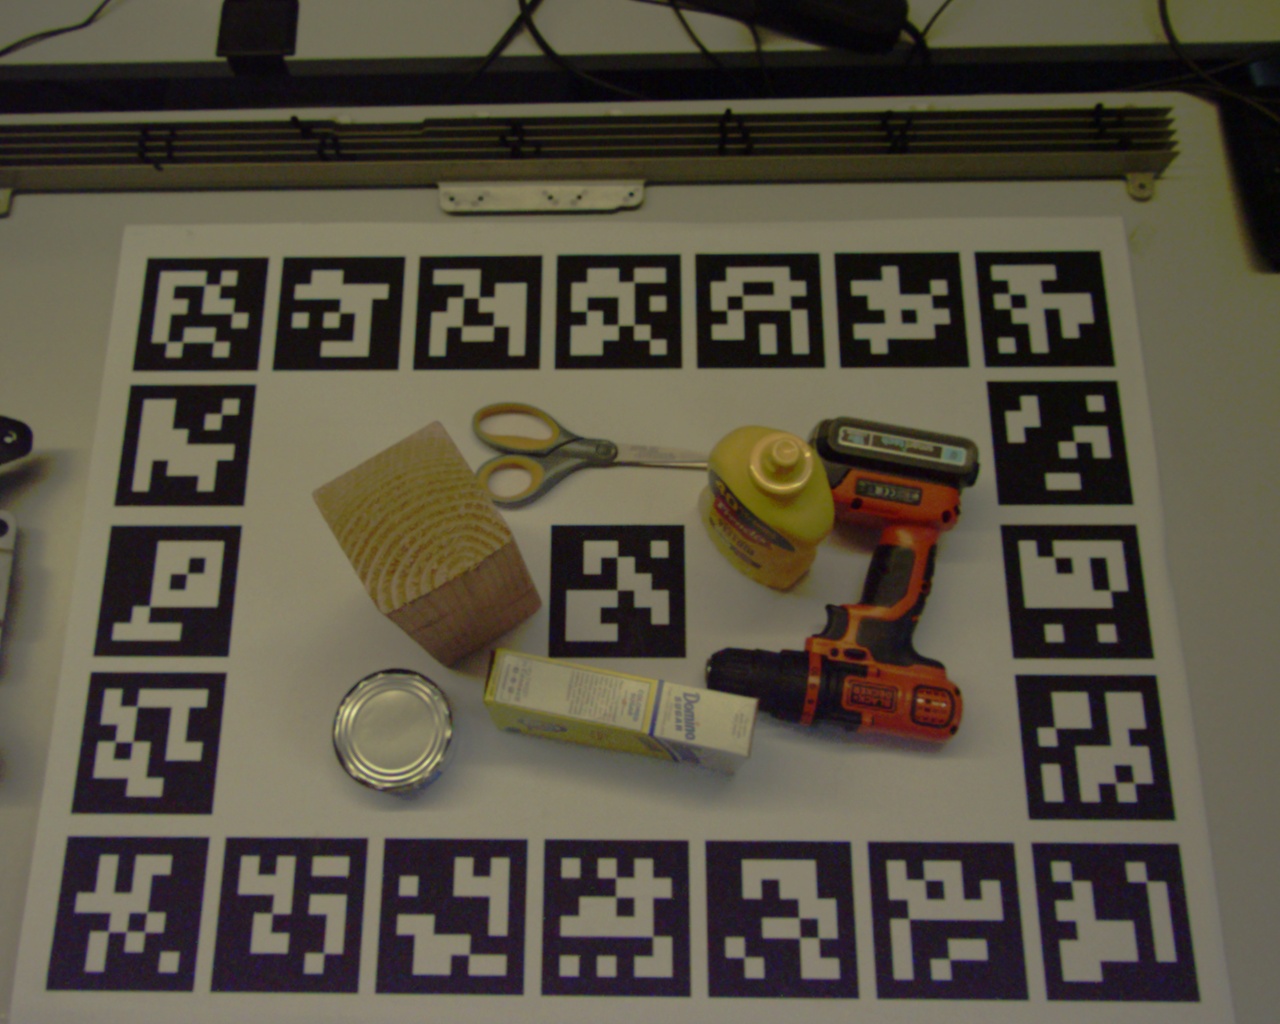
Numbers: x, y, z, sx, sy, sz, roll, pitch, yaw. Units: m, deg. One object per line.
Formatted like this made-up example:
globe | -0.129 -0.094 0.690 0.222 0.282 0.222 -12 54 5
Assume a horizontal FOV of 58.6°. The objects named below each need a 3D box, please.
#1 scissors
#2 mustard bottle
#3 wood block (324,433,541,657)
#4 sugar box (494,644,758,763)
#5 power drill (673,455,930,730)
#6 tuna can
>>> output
scissors | -0.056 -0.045 0.898 0.203 0.016 0.088 2 71 2
mustard bottle | 0.083 -0.007 0.803 0.058 0.191 0.096 -40 79 -9
wood block | -0.136 0.030 0.793 0.091 0.206 0.090 -28 78 -7
sugar box | -0.011 0.138 0.810 0.177 0.093 0.045 11 72 2
power drill | 0.131 0.057 0.845 0.185 0.057 0.187 12 82 5
tuna can | -0.177 0.154 0.836 0.086 0.033 0.086 0 76 0
